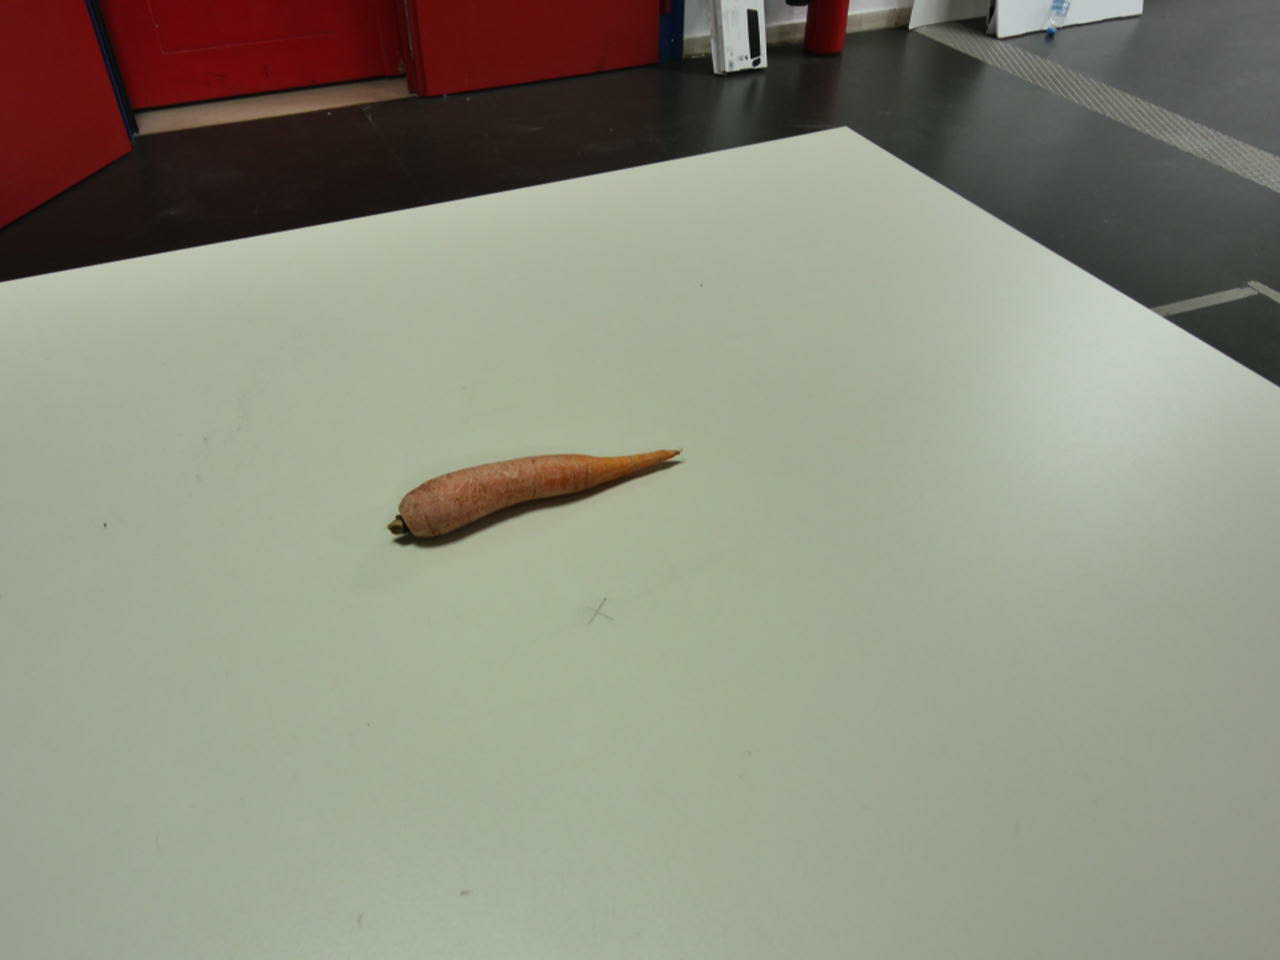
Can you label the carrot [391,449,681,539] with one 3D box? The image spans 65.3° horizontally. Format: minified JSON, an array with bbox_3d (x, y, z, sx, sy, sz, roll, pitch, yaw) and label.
[{"bbox_3d":[-0.053,-0.002,0.538,0.163,0.029,0.031,-16,41,-20],"label":"carrot"}]
